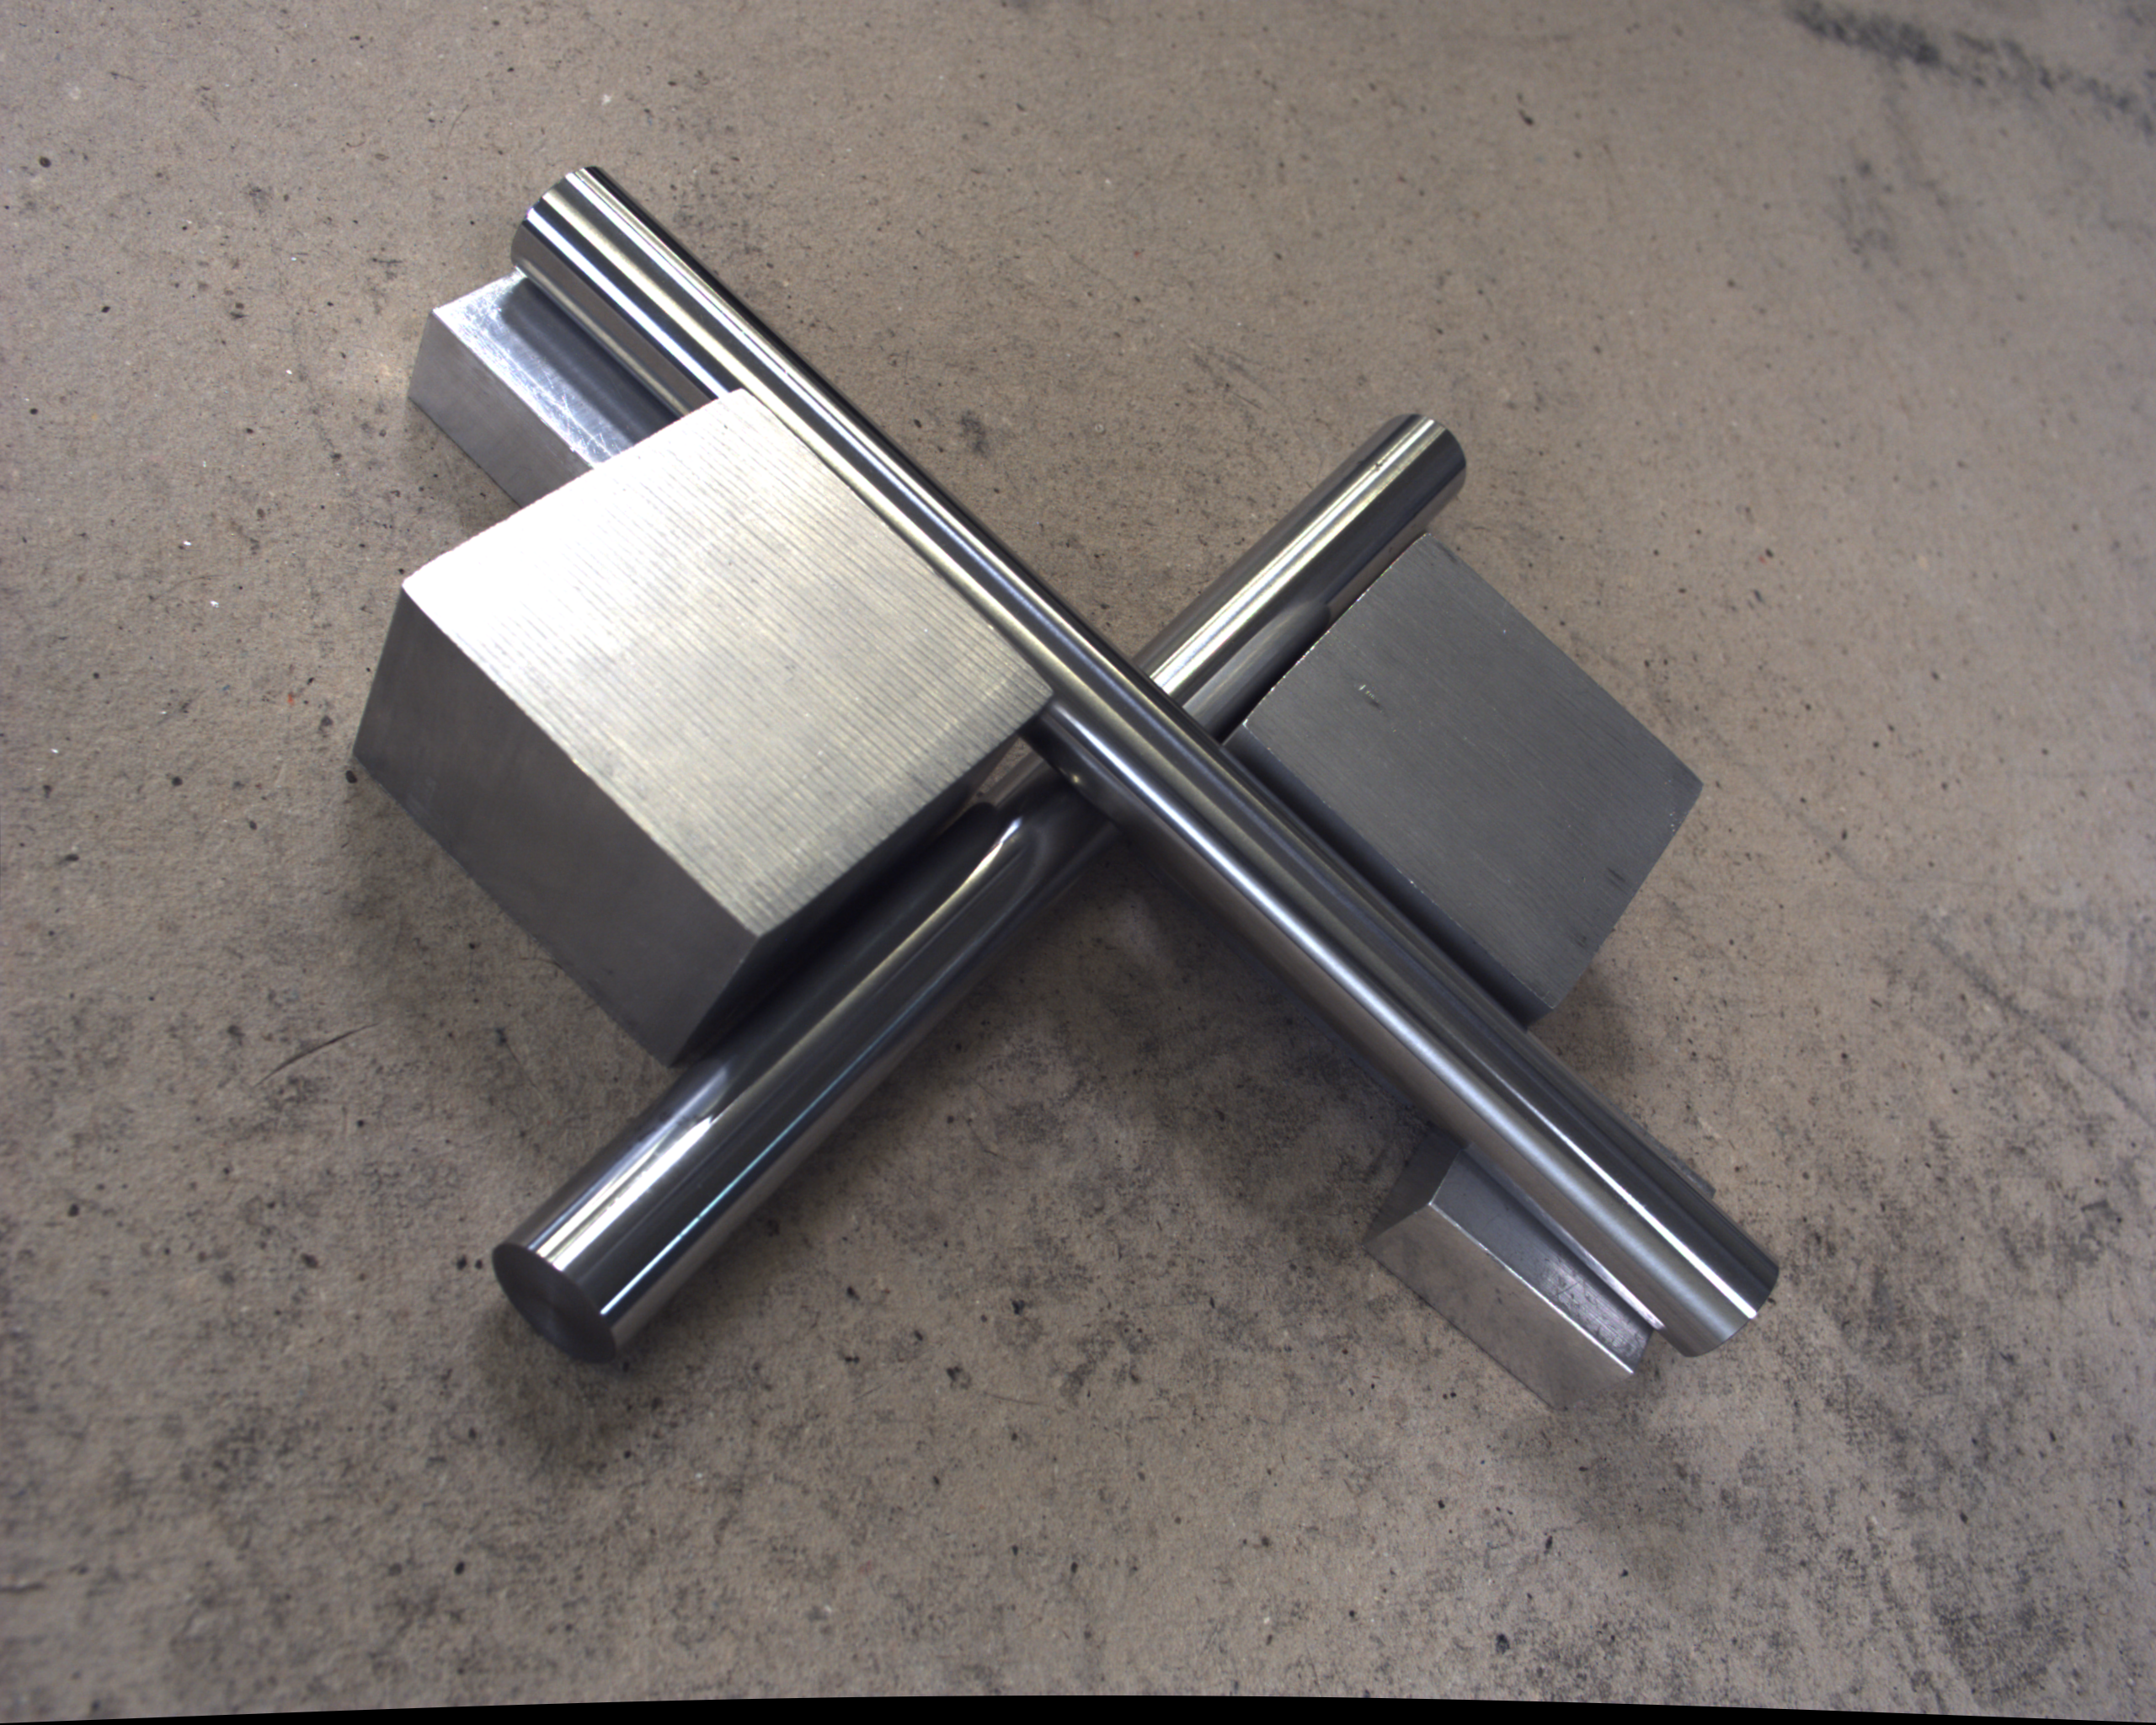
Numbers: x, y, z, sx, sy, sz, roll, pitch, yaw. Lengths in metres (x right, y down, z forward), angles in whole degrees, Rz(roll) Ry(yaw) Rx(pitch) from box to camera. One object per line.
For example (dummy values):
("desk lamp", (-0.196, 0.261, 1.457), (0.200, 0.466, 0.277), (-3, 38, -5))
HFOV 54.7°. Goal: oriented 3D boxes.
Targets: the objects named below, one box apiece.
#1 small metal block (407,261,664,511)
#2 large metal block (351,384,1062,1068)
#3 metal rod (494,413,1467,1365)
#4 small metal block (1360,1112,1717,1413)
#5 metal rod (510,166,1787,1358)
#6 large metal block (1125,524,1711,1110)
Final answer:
("small metal block", (-0.094, -0.092, 0.412), (0.050, 0.025, 0.050), (45, 51, 2))
("large metal block", (-0.065, -0.025, 0.367), (0.080, 0.050, 0.080), (45, 51, 3))
("metal rod", (0.002, -0.015, 0.416), (0.025, 0.025, 0.302), (43, 51, 1))
("small metal block", (0.092, 0.070, 0.412), (0.050, 0.025, 0.050), (40, 51, -1))
("metal rod", (0.012, -0.019, 0.391), (0.300, 0.025, 0.025), (43, 51, 1))
("large metal block", (0.071, -0.010, 0.434), (0.080, 0.050, 0.080), (43, 51, 1))
